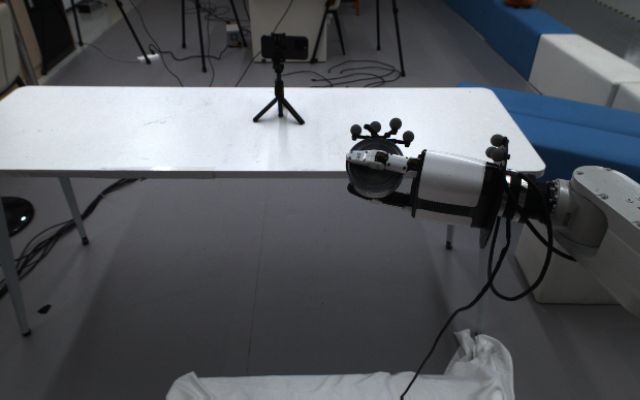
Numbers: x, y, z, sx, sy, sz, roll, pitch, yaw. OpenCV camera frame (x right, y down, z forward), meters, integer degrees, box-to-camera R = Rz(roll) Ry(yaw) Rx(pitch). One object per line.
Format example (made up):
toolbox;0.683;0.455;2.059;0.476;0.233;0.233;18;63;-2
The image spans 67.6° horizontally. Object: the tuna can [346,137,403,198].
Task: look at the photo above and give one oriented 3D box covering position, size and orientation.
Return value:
tuna can;0.082;-0.051;0.714;0.085;0.034;0.085;-3;68;7
